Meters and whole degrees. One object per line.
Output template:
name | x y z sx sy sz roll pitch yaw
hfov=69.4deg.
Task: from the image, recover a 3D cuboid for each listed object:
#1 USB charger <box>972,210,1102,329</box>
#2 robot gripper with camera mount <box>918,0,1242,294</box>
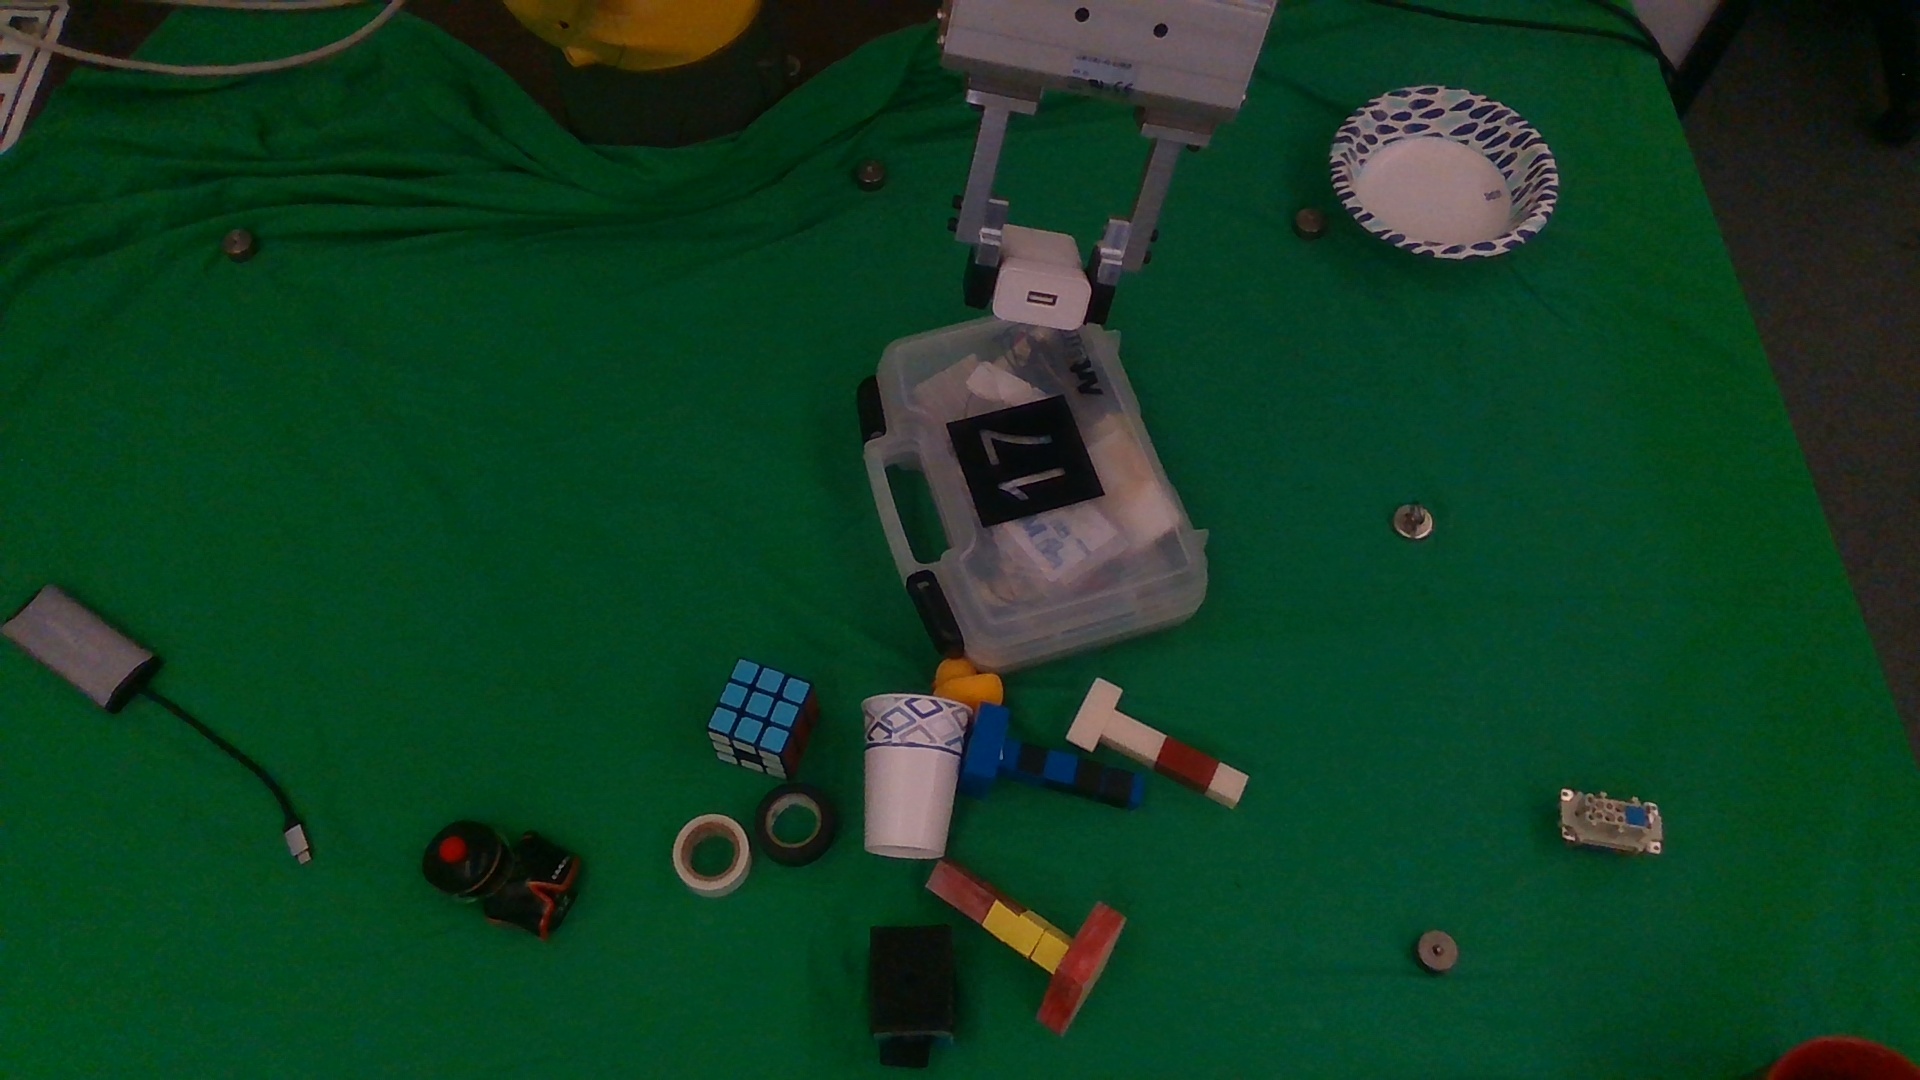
USB charger | 0.031 -0.125 0.617 0.044 0.029 0.076 -11 45 -14
robot gripper with camera mount | 0.036 -0.219 0.616 0.119 0.158 0.193 2 39 -6
